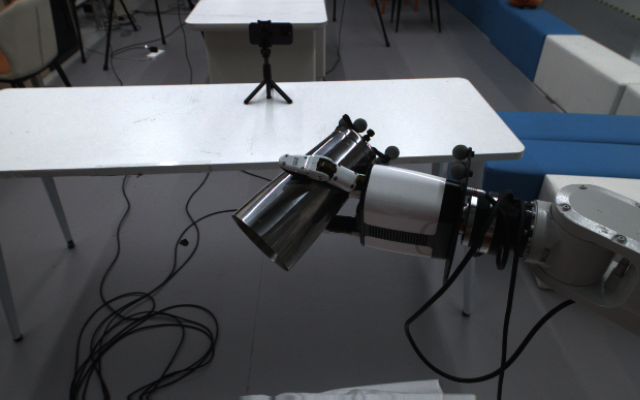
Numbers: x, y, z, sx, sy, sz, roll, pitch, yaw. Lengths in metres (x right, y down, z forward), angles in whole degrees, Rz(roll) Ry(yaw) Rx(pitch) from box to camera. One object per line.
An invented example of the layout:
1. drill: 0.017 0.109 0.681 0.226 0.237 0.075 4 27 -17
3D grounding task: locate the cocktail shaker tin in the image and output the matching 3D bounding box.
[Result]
1. cocktail shaker tin: -0.012 -0.010 0.579 0.170 0.093 0.093 -44 51 -15
